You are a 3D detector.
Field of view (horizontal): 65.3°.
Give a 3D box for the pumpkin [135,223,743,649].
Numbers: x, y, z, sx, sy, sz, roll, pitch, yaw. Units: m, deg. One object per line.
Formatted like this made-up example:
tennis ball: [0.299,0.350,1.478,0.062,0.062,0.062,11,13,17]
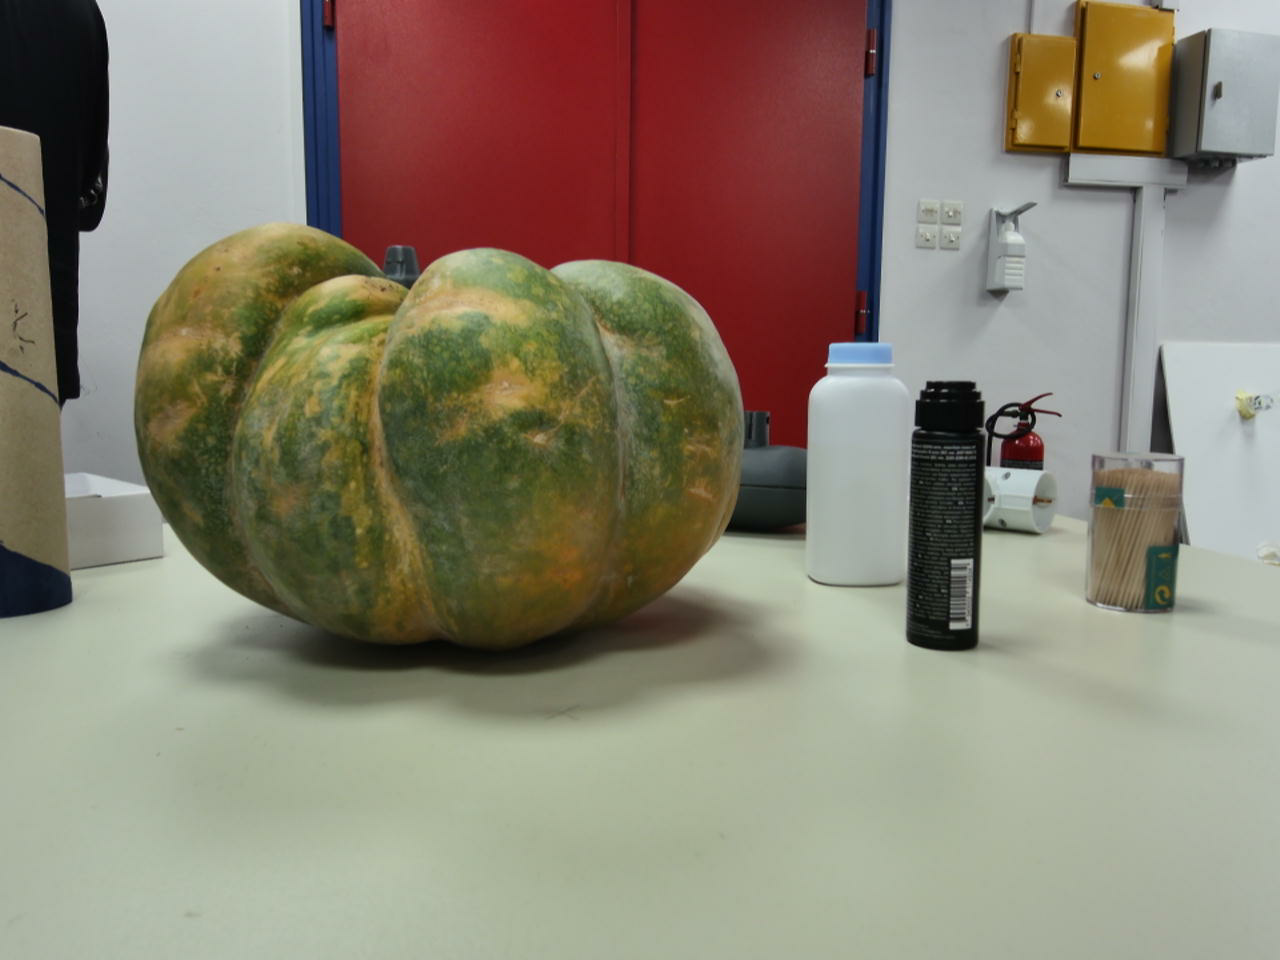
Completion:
pumpkin: [-0.083,-0.019,0.448,0.270,0.173,0.237,2,5,24]
